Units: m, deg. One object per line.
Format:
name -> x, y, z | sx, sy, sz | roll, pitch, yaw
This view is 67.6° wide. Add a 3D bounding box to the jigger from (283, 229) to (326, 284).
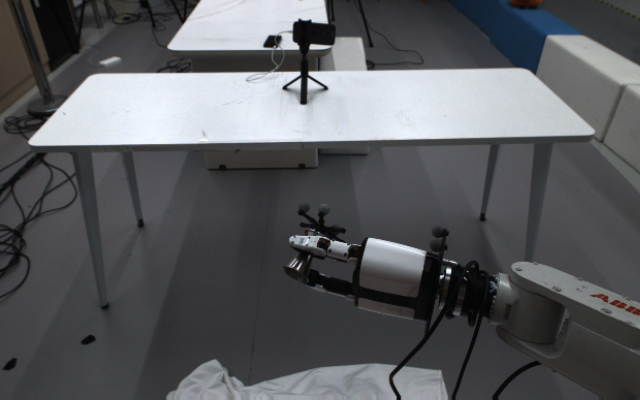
jigger -> -0.022, 0.077, 0.705 | 0.043, 0.043, 0.071 | 19, 61, 23
